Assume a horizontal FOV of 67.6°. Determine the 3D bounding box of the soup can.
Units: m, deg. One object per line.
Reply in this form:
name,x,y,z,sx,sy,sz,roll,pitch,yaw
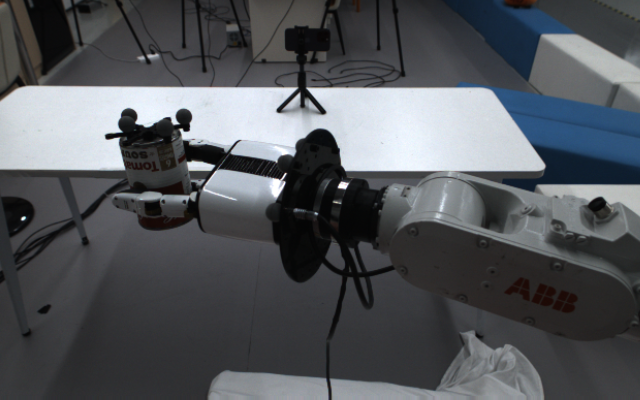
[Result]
soup can,-0.182,-0.025,0.553,0.067,0.101,0.067,-3,27,2
